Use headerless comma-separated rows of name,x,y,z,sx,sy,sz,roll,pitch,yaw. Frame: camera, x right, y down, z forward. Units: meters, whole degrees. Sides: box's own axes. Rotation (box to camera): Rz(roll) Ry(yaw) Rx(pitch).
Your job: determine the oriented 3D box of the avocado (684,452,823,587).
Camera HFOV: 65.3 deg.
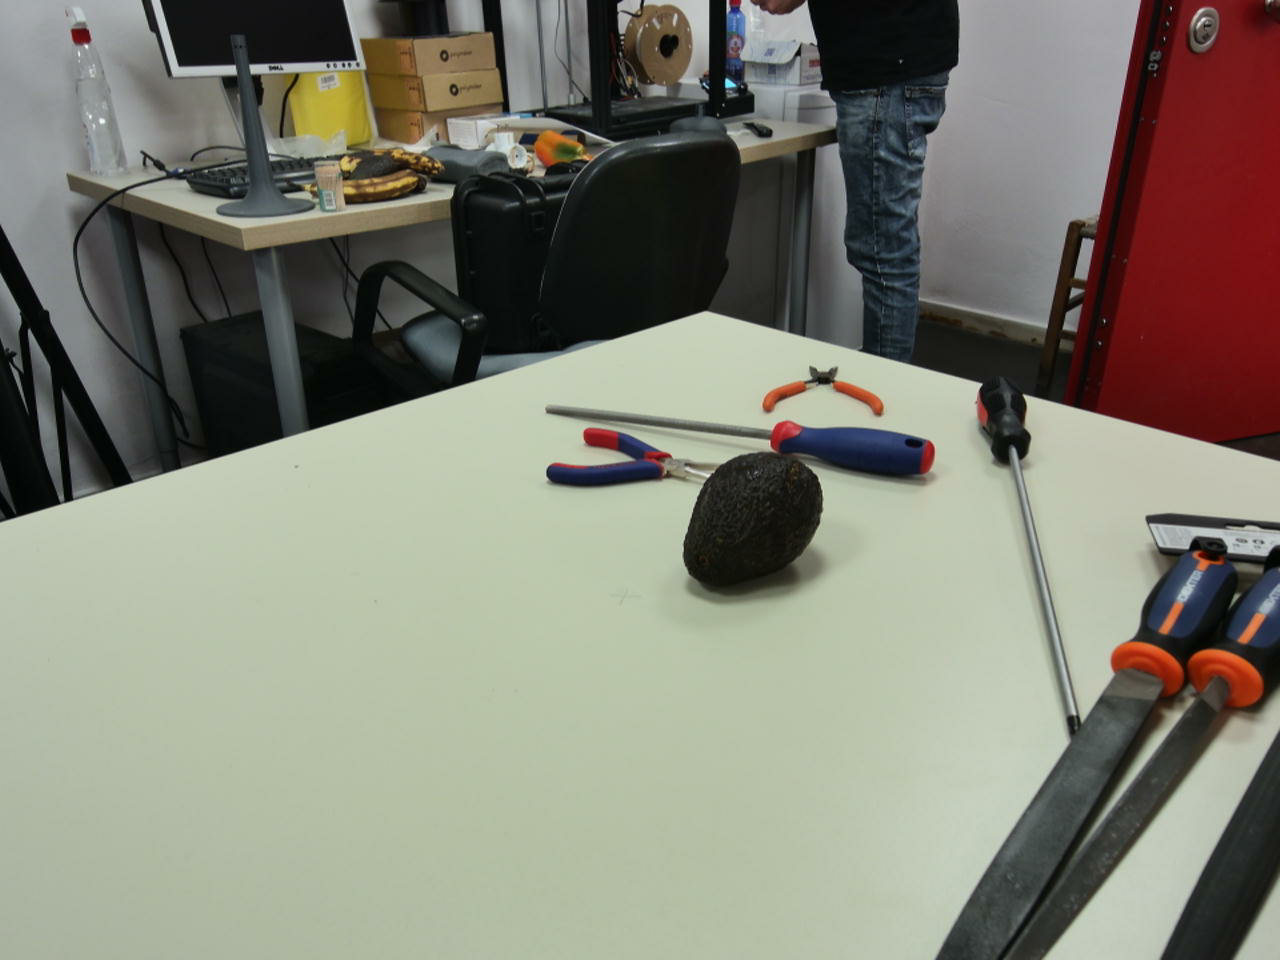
avocado,0.065,0.019,0.587,0.090,0.069,0.070,-7,25,-16
